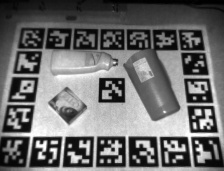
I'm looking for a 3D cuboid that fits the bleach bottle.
[{"bbox_3d":[-0.103,-0.099,0.844,0.251,0.068,0.102,-2,75,-4],"label":"bleach bottle"}]

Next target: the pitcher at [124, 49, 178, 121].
[{"bbox_3d":[0.156,-0.002,0.799,0.191,0.132,0.241,-13,74,-41],"label":"pitcher"}]

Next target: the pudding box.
[{"bbox_3d":[-0.164,0.068,0.793,0.090,0.039,0.113,-41,78,-19],"label":"pudding box"}]
